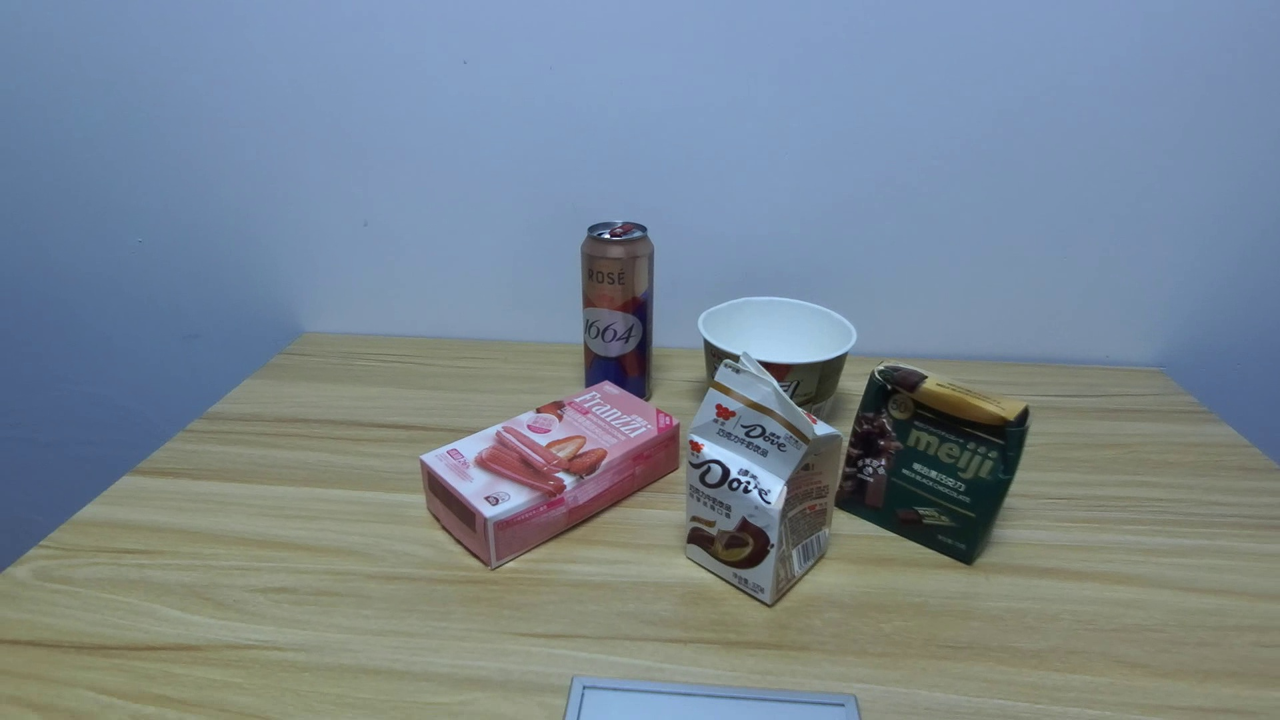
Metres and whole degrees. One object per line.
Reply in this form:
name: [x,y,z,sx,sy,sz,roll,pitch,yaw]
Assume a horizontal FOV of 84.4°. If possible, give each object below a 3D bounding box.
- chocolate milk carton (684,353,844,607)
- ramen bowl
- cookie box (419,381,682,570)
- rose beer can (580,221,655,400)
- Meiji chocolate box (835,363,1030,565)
chocolate milk carton: [0.080,0.070,0.458,0.076,0.156,0.074,24,37,37]
ramen bowl: [0.122,0.010,0.648,0.140,0.095,0.140,-1,28,1]
cookie box: [-0.064,0.083,0.555,0.188,0.049,0.104,-22,34,-36]
rose beer can: [-0.020,-0.040,0.667,0.068,0.169,0.068,0,24,0]
Meiji chocolate box: [0.212,0.070,0.515,0.117,0.117,0.052,21,25,35]
